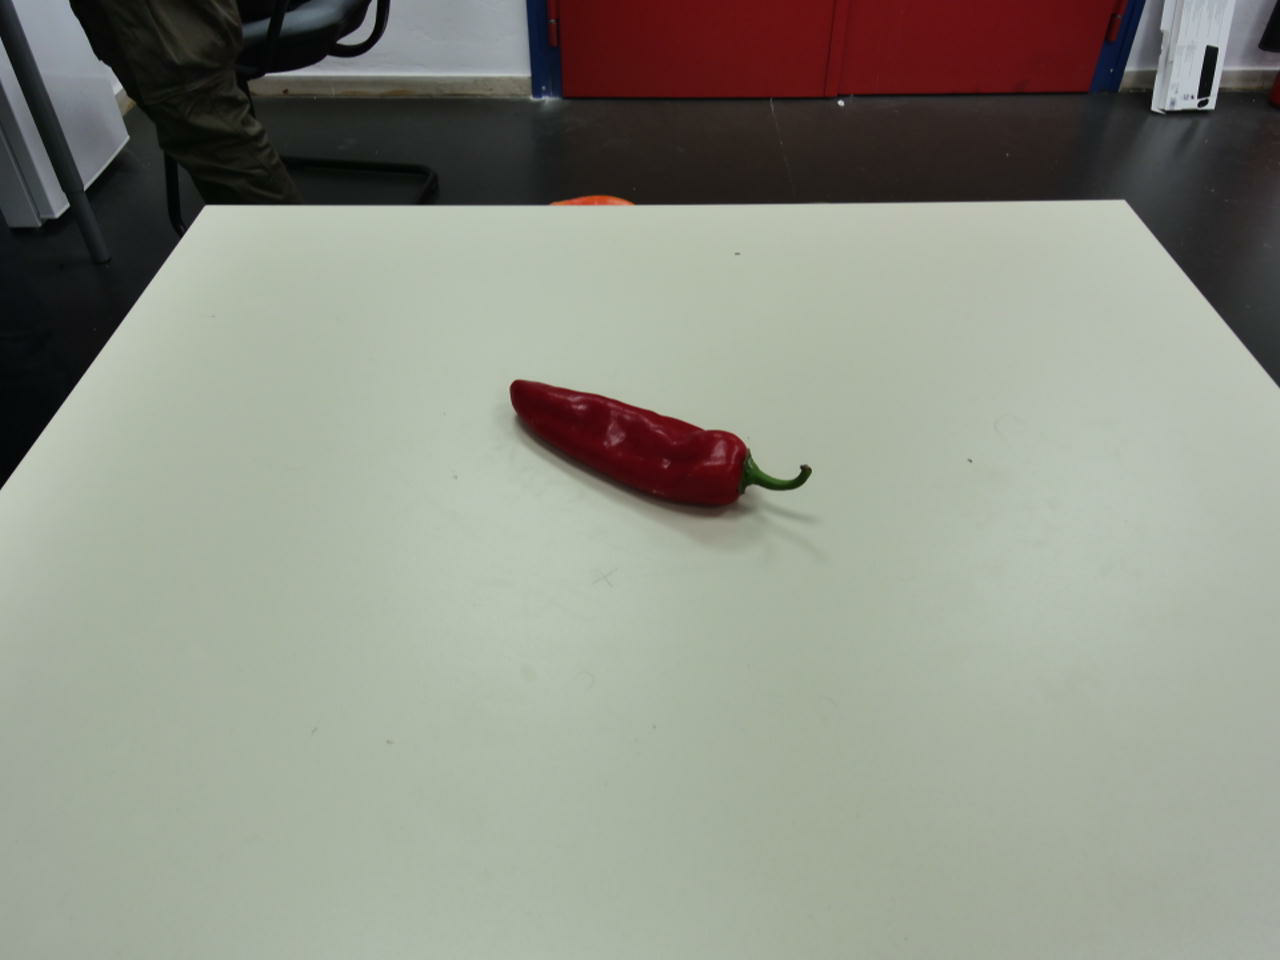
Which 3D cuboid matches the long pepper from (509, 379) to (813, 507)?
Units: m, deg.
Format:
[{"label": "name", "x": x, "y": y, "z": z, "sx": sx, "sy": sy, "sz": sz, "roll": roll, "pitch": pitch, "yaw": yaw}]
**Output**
[{"label": "long pepper", "x": 0.000, "y": -0.023, "z": 0.601, "sx": 0.211, "sy": 0.043, "sz": 0.050, "roll": 22, "pitch": 44, "yaw": 24}]
